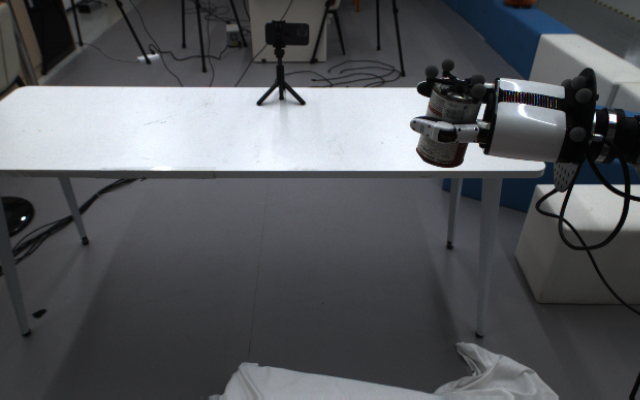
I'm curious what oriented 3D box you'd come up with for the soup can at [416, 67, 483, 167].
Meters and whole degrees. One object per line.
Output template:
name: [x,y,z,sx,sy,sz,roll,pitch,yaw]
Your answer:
soup can: [0.177,-0.106,0.662,0.067,0.101,0.067,5,36,-3]
